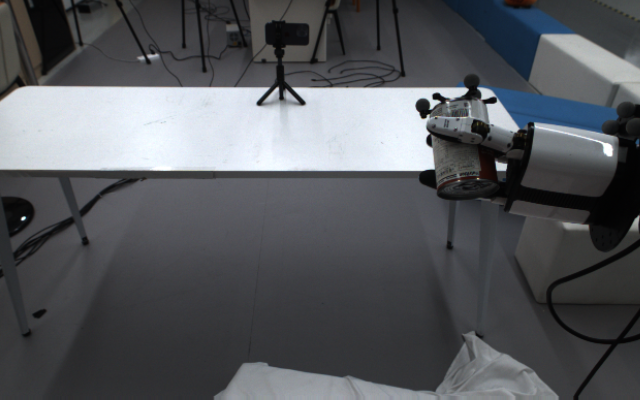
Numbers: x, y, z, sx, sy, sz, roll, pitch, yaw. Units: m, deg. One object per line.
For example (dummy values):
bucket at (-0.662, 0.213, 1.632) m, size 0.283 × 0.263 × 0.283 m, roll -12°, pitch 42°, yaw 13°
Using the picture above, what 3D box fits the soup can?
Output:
soup can at (0.164, -0.061, 0.558) m, size 0.067 × 0.067 × 0.101 m, roll 0°, pitch 72°, yaw -4°
